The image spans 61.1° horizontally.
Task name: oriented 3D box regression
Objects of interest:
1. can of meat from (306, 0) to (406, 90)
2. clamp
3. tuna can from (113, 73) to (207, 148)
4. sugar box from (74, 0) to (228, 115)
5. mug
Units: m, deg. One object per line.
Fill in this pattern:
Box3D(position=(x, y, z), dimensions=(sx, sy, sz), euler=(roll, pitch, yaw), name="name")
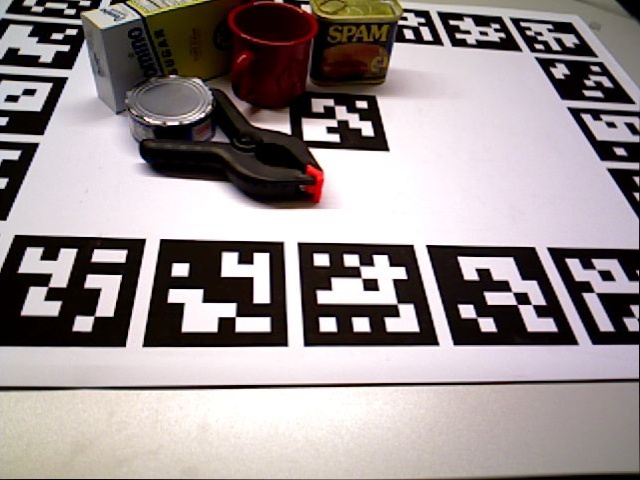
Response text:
Box3D(position=(0.035, -0.219, 0.607), dimensions=(0.100, 0.086, 0.057), euler=(-4, 49, -14), name="can of meat")
Box3D(position=(-0.071, -0.073, 0.499), dimensions=(0.165, 0.037, 0.119), euler=(31, 48, 11), name="clamp")
Box3D(position=(-0.151, -0.120, 0.519), dimensions=(0.085, 0.034, 0.084), euler=(4, 51, -6), name="tuna can")
Box3D(position=(-0.152, -0.201, 0.557), dimensions=(0.172, 0.095, 0.045), euler=(-31, 59, -31), name="sugar box")
Box3D(position=(-0.059, -0.189, 0.557), dimensions=(0.093, 0.083, 0.114), euler=(21, 52, 8), name="mug")
